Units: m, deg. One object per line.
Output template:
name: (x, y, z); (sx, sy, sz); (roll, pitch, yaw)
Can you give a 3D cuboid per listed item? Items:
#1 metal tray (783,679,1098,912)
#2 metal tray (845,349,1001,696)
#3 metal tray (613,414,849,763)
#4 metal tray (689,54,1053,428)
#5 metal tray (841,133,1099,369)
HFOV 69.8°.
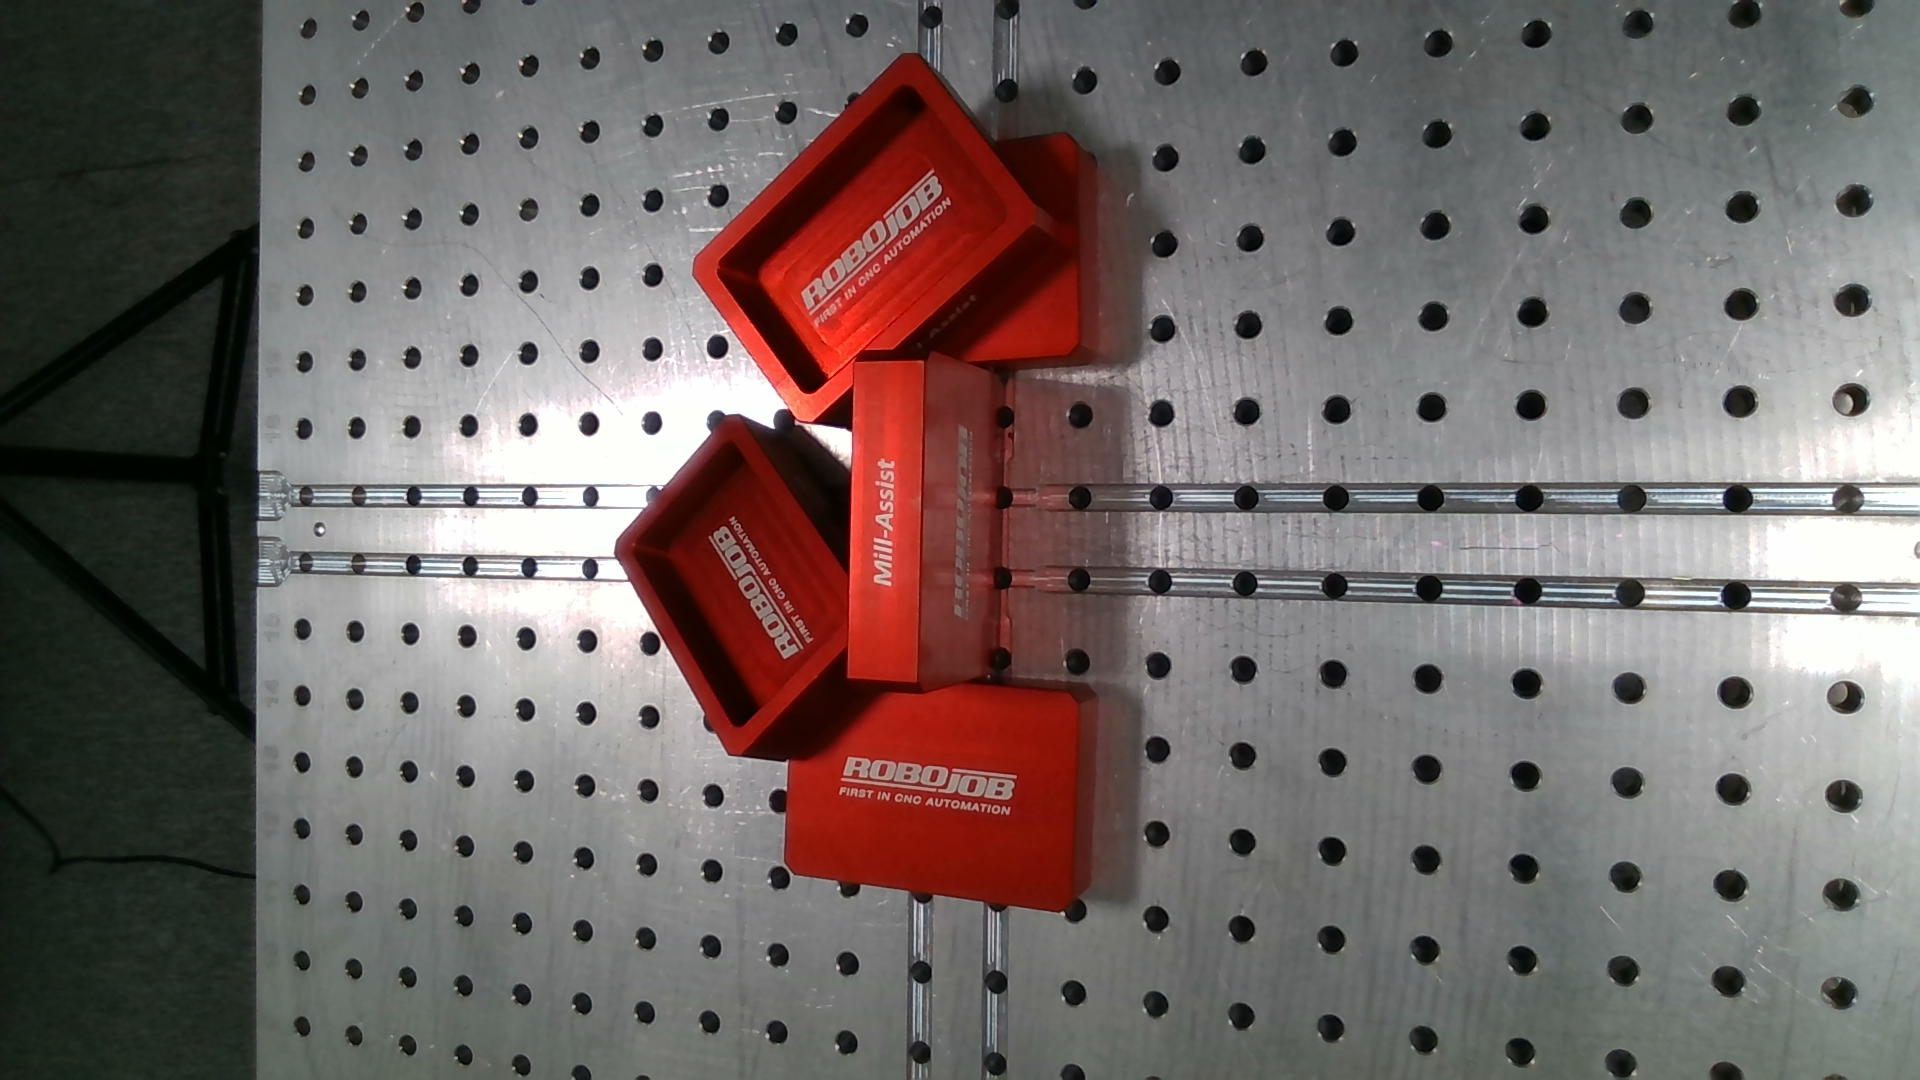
metal tray: (-0.009, 0.103, 0.589); (0.130, 0.030, 0.090); (3, 92, 20)
metal tray: (-0.013, -0.007, 0.557); (0.030, 0.090, 0.130); (2, 91, 20)
metal tray: (-0.090, 0.020, 0.599); (0.090, 0.030, 0.130); (-46, 59, 15)
metal tray: (-0.038, -0.119, 0.564); (0.130, 0.030, 0.090); (-40, 78, 17)
metal tray: (-0.008, -0.117, 0.587); (0.130, 0.030, 0.090); (-1, 90, 21)
